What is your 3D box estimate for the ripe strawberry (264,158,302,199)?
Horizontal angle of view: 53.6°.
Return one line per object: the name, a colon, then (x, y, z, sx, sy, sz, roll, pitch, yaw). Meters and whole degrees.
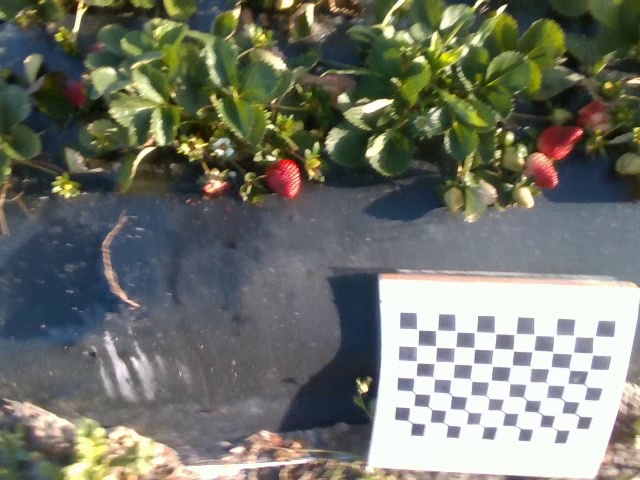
ripe strawberry: (-0.045, -0.068, 0.780, 0.052, 0.052, 0.041, -29, -44, 13)
